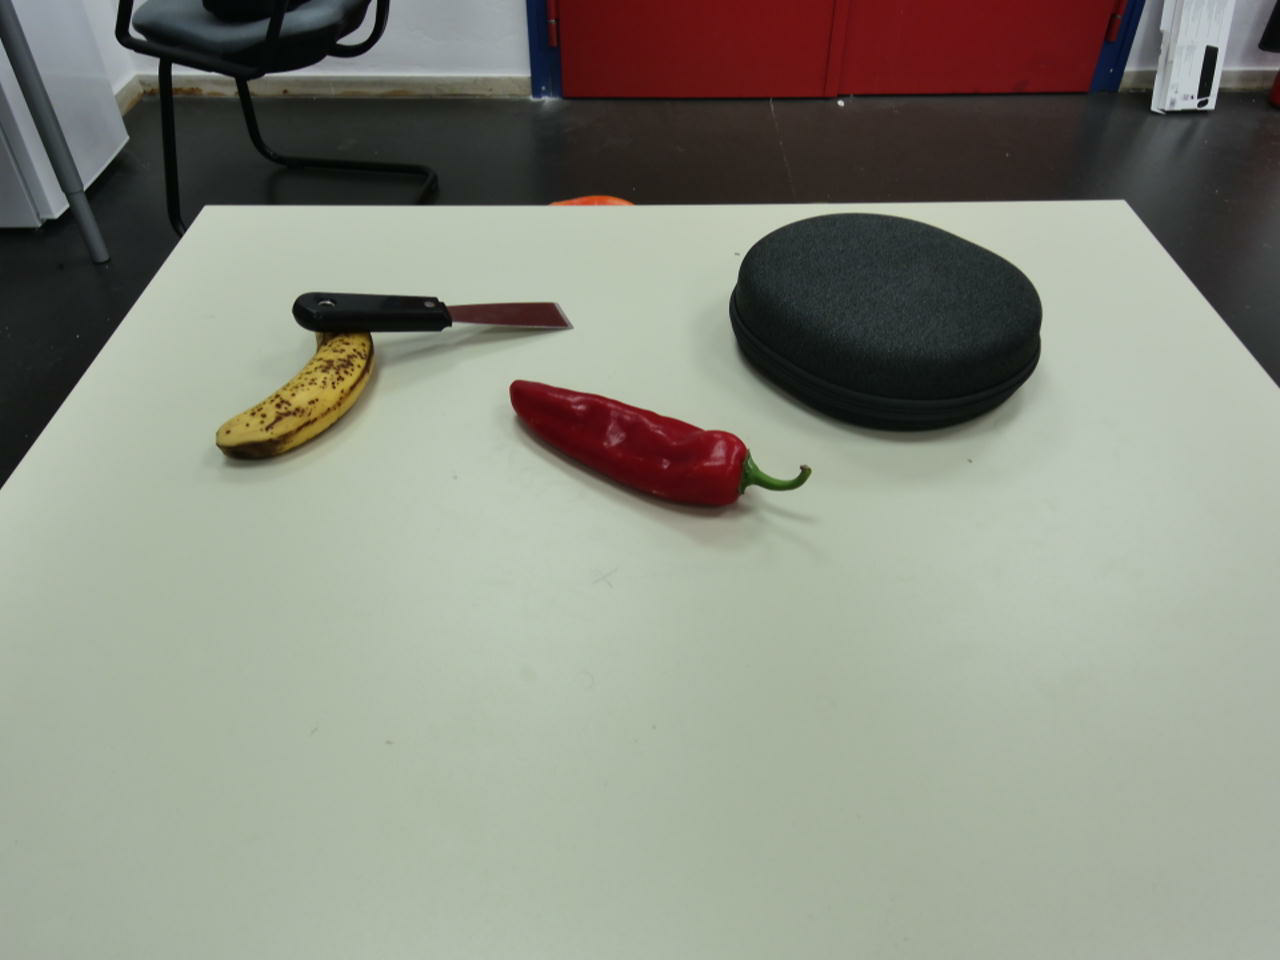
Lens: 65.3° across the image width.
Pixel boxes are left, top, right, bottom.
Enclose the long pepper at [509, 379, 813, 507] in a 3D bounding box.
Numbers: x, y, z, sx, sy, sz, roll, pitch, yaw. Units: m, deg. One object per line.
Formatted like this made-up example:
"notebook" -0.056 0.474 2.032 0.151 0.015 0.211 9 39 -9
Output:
"long pepper" 0.000 -0.023 0.601 0.211 0.043 0.050 22 44 24
